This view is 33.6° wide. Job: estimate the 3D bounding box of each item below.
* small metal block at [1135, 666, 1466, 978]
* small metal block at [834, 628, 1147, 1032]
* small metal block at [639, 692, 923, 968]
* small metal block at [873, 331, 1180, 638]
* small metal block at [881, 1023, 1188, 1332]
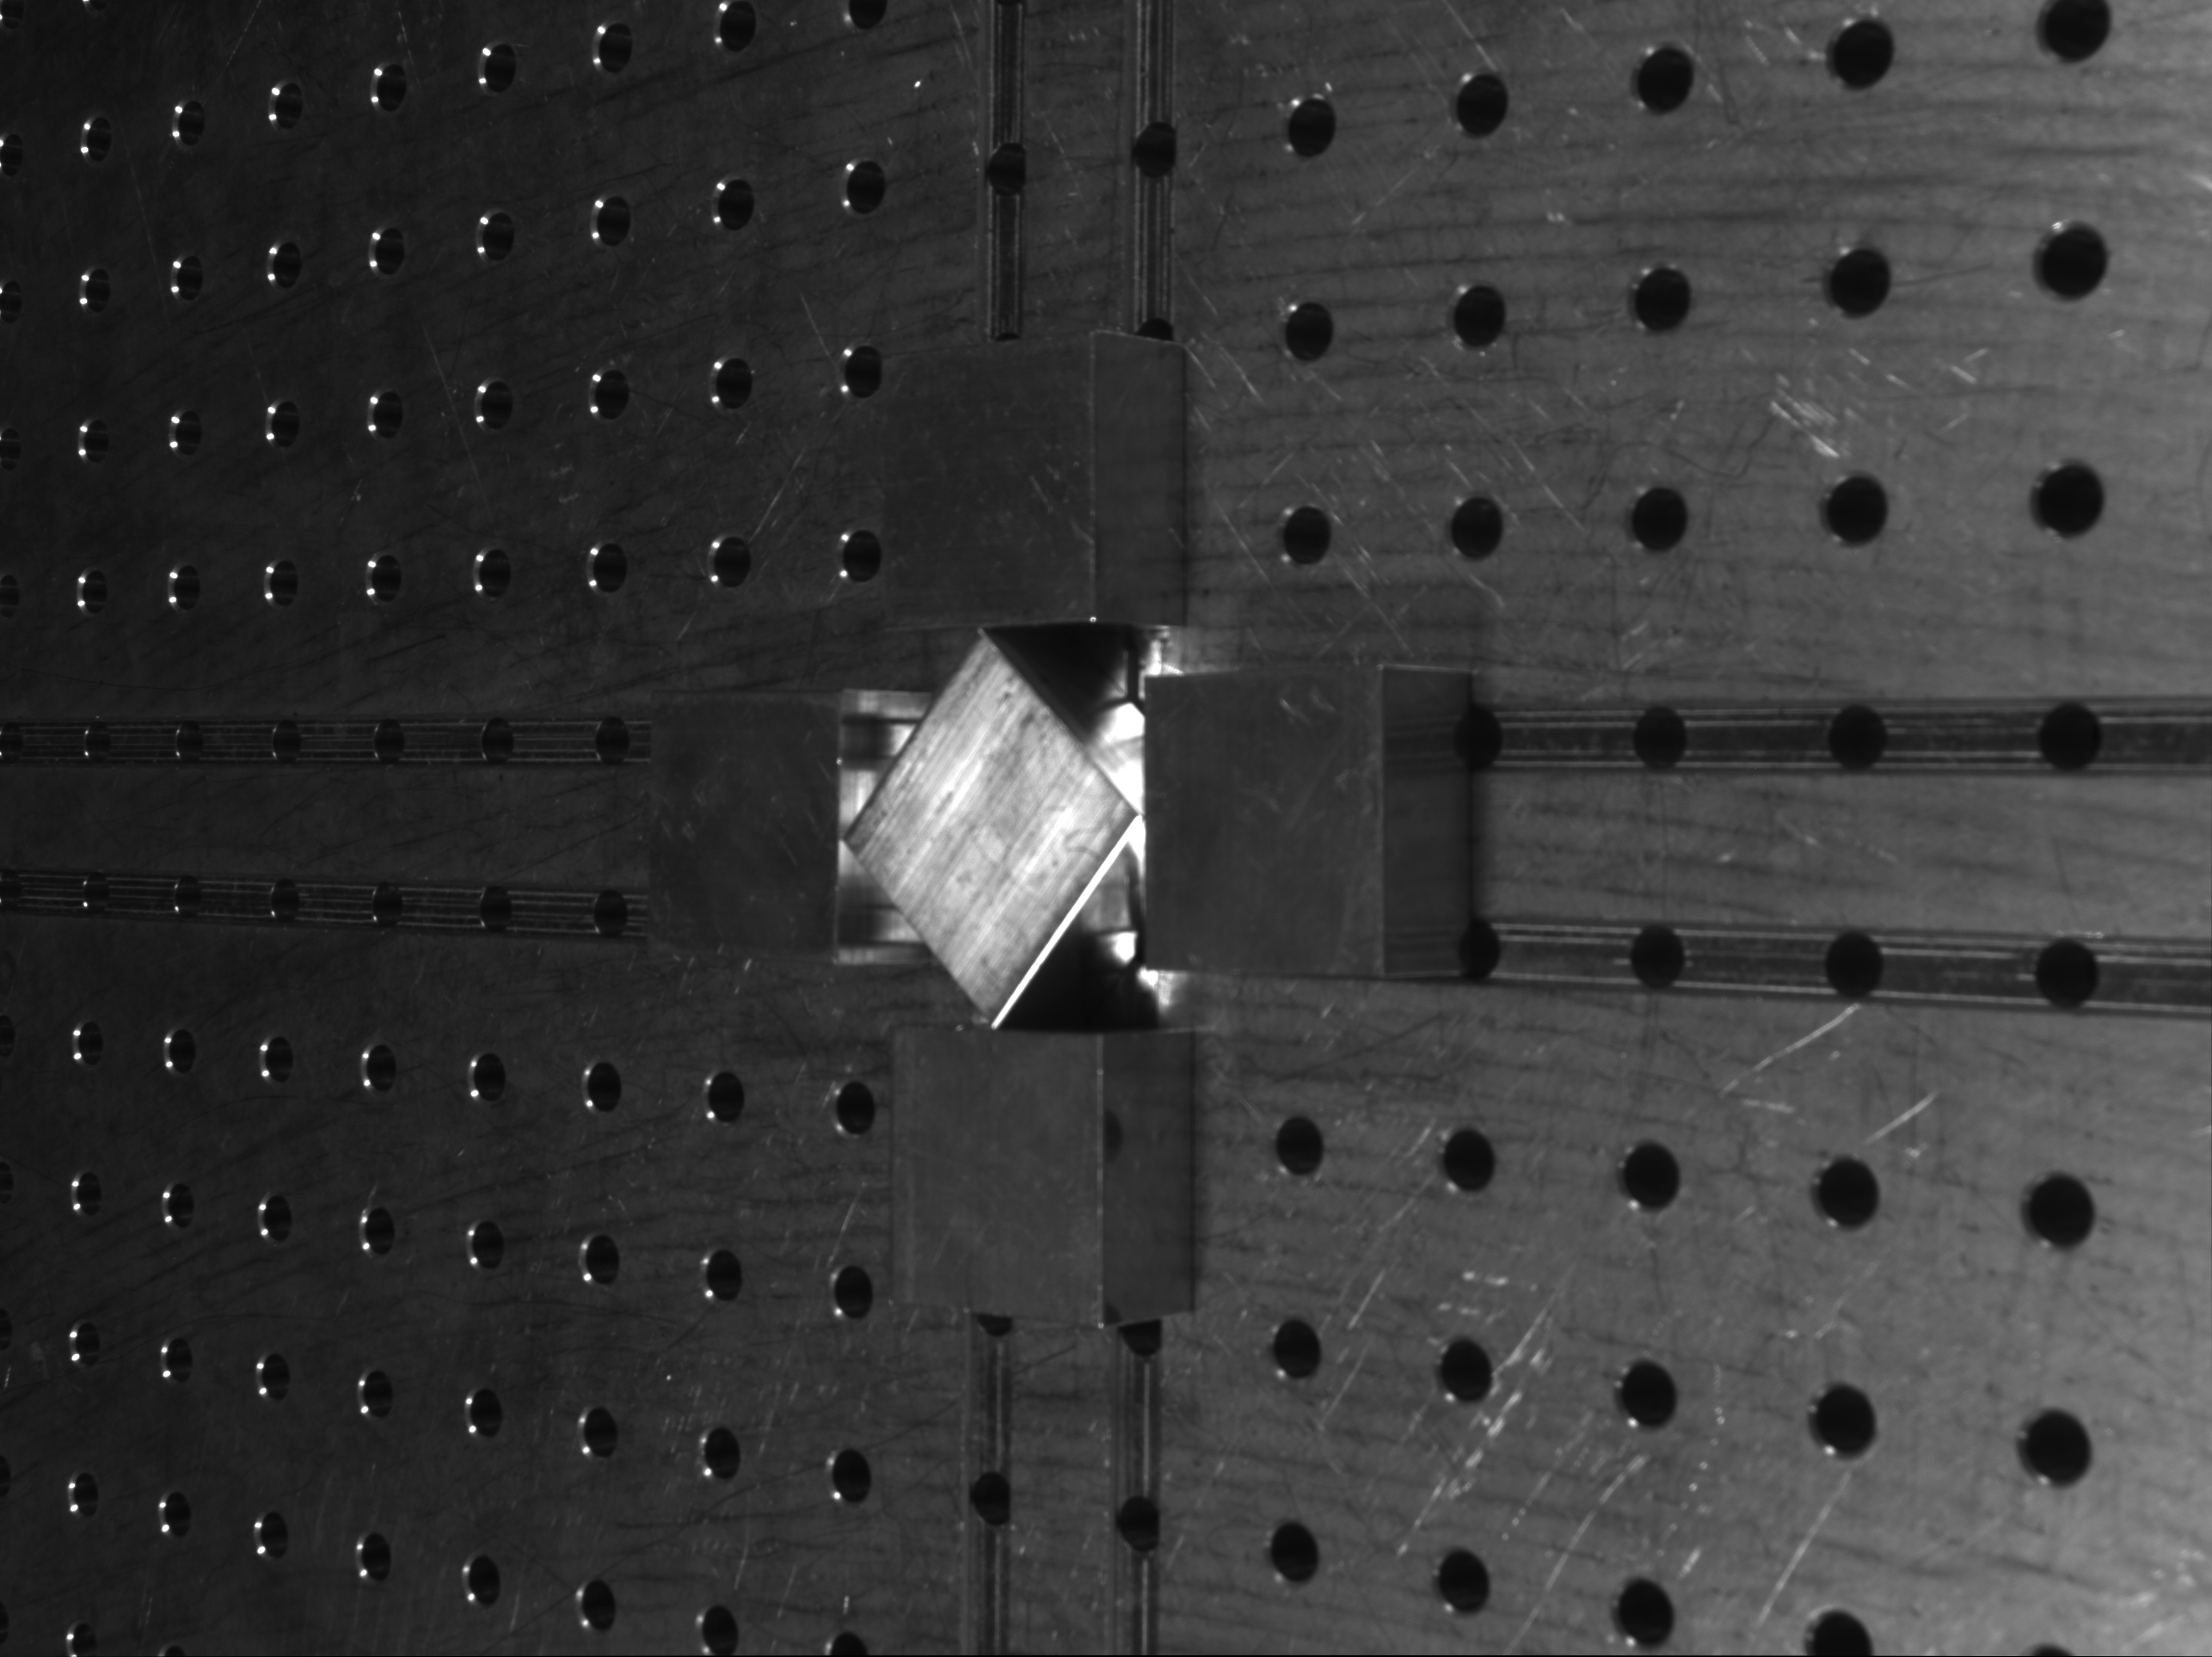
[{"bbox_3d":[0.032,-0.001,0.613,0.050,0.025,0.050,-1,90,39],"label":"small metal block"},{"bbox_3d":[-0.014,0.000,0.651,0.050,0.025,0.050,49,119,28],"label":"small metal block"},{"bbox_3d":[-0.061,0.000,0.689,0.050,0.025,0.050,2,91,39],"label":"small metal block"},{"bbox_3d":[-0.014,-0.060,0.651,0.050,0.025,0.050,-1,89,39],"label":"small metal block"},{"bbox_3d":[-0.013,0.061,0.650,0.050,0.025,0.050,0,90,39],"label":"small metal block"}]
